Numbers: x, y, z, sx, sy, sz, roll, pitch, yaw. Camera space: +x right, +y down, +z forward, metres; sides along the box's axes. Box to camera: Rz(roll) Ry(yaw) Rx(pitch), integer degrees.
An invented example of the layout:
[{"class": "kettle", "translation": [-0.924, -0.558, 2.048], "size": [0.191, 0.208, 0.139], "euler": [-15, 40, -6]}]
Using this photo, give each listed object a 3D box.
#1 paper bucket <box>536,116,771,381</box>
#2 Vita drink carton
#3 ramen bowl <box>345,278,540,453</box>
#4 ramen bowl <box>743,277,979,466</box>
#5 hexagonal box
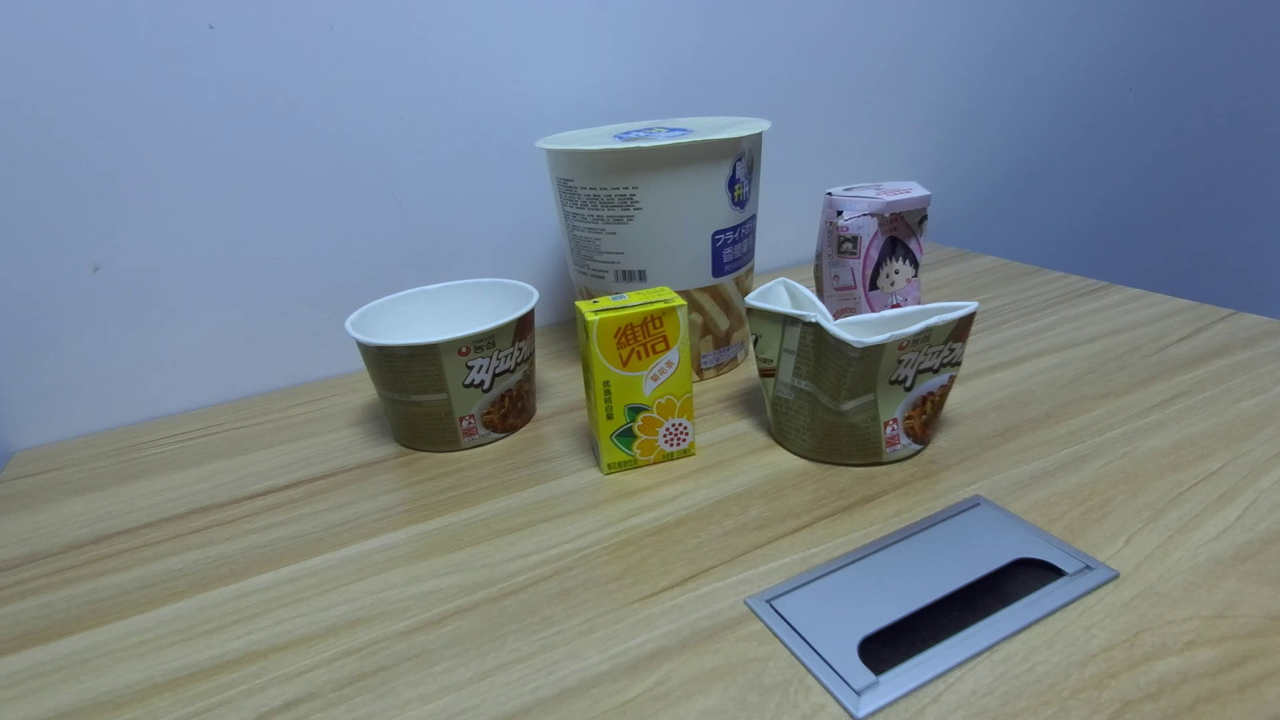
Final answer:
[{"class": "paper bucket", "translation": [0.018, -0.094, 0.601], "size": [0.198, 0.195, 0.198], "euler": [-5, 23, 2]}, {"class": "Vita drink carton", "translation": [-0.002, 0.012, 0.461], "size": [0.067, 0.109, 0.043], "euler": [-11, 24, -14]}, {"class": "ramen bowl", "translation": [-0.141, 0.003, 0.541], "size": [0.140, 0.095, 0.140], "euler": [-4, 24, 2]}, {"class": "ramen bowl", "translation": [0.137, 0.001, 0.476], "size": [0.112, 0.093, 0.127], "euler": [-19, 27, -28]}, {"class": "hexagonal box", "translation": [0.196, -0.078, 0.603], "size": [0.091, 0.134, 0.090], "euler": [2, 21, 16]}]
